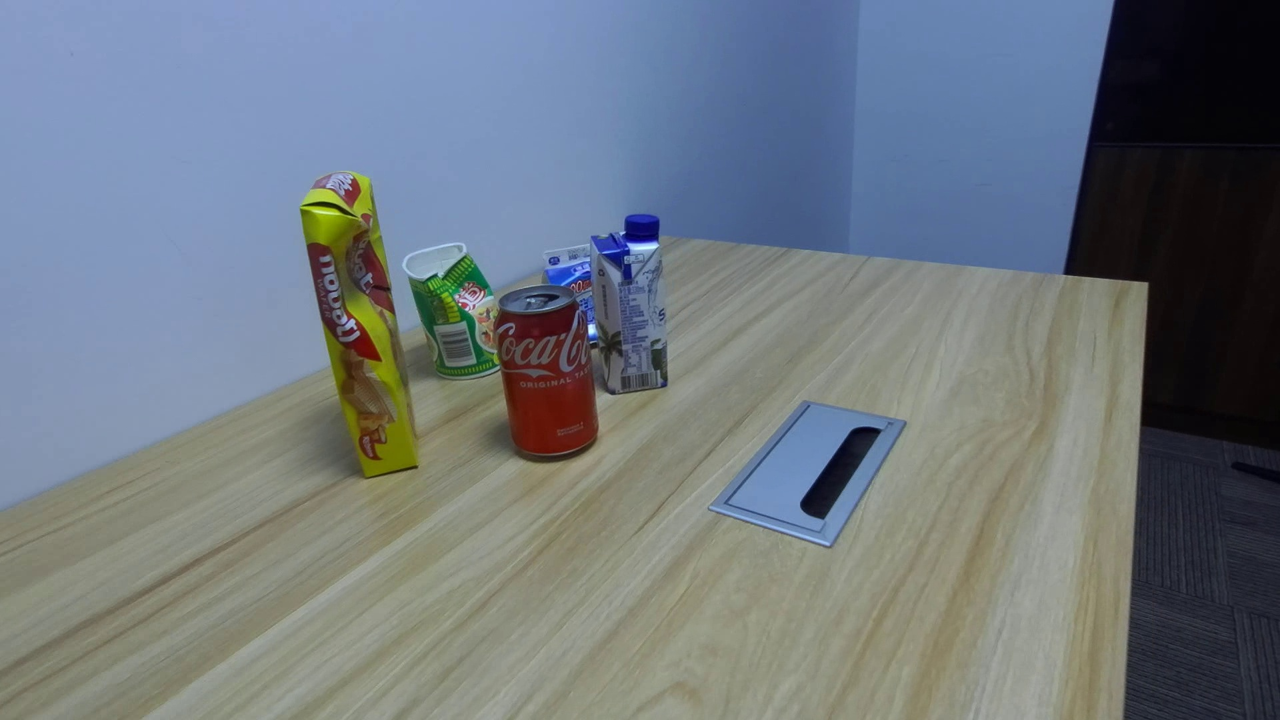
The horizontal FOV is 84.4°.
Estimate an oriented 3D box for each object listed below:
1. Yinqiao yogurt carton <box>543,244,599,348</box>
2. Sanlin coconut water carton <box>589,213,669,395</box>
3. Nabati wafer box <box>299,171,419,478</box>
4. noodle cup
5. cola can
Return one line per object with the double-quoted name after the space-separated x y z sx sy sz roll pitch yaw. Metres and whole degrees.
-0.056 -0.067 0.704 0.077 0.094 0.071 -10 19 -8 "Yinqiao yogurt carton"
-0.009 -0.047 0.595 0.061 0.144 0.060 -9 26 -10 "Sanlin coconut water carton"
-0.199 -0.024 0.509 0.042 0.204 0.106 -9 25 -14 "Nabati wafer box"
-0.170 -0.046 0.664 0.075 0.122 0.083 8 36 42 "noodle cup"
-0.067 0.008 0.516 0.068 0.120 0.068 -3 24 1 "cola can"
